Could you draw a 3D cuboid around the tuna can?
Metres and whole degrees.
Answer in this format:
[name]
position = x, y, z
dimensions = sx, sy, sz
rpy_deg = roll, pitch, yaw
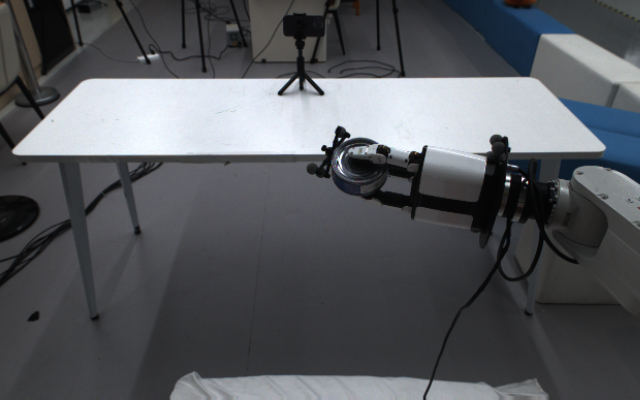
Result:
[tuna can]
position = 0.061, -0.051, 0.723
dimensions = 0.085, 0.034, 0.085
rpy_deg = 0, 62, 1
